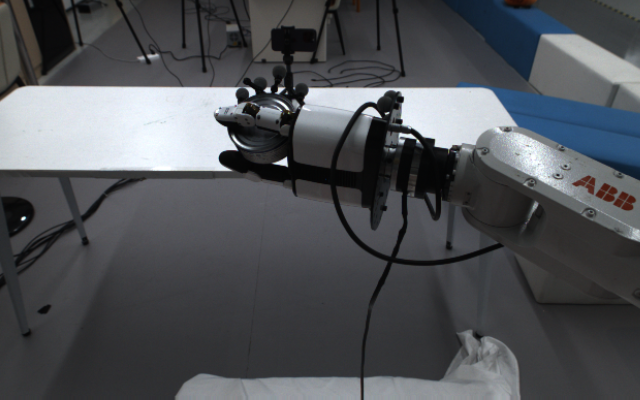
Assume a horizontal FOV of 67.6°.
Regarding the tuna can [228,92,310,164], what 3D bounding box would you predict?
[{"bbox_3d":[-0.067,-0.087,0.596,0.085,0.034,0.085,-6,61,10],"label":"tuna can"}]
